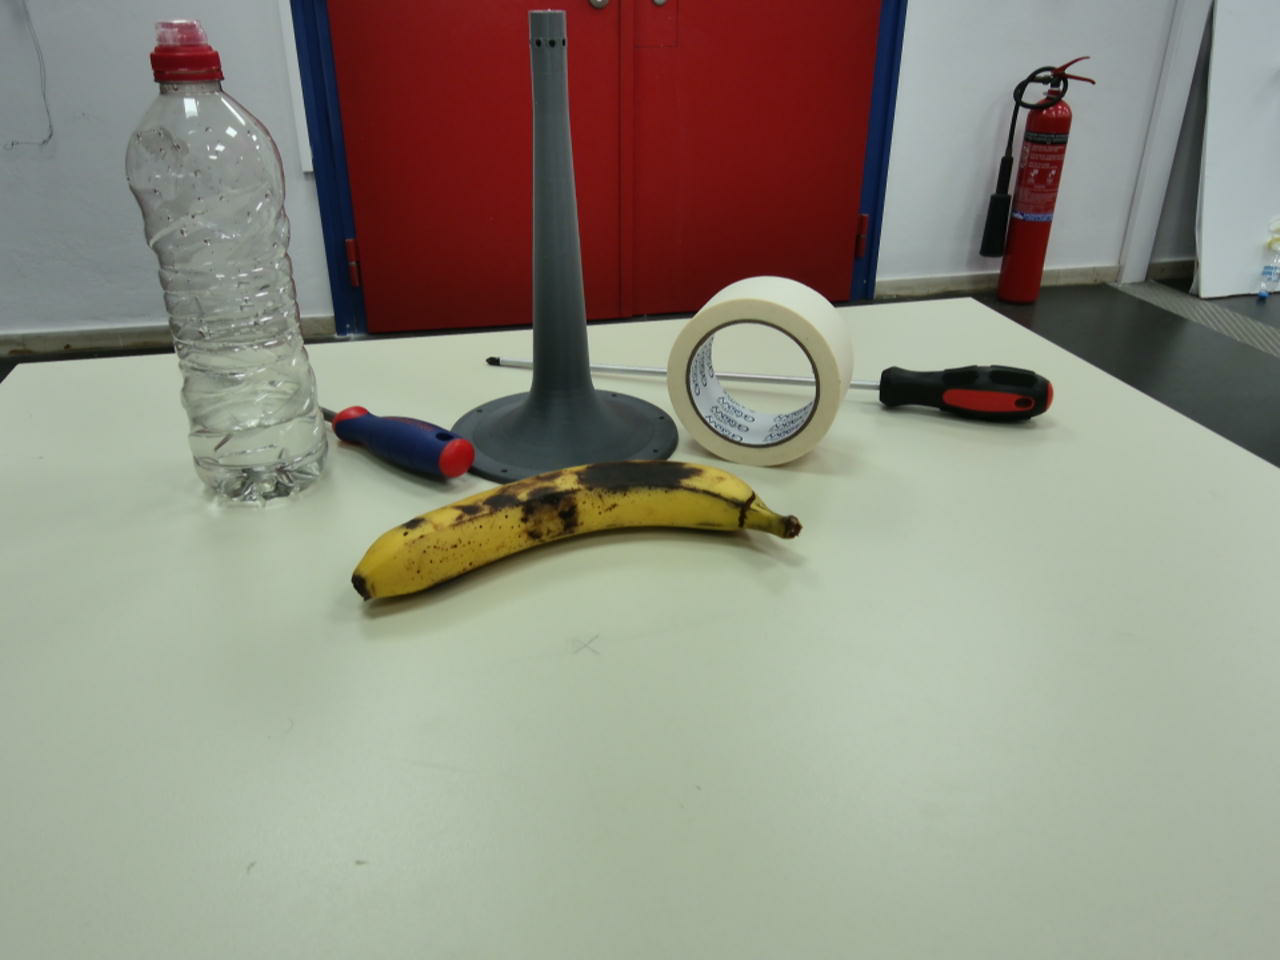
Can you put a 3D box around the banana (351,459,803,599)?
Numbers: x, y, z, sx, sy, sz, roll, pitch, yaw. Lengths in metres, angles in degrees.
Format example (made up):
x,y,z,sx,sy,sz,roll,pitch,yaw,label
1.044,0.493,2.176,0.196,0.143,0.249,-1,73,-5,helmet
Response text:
x,y,z,sx,sy,sz,roll,pitch,yaw,label
-0.034,0.020,0.521,0.222,0.037,0.084,-6,26,-12,banana
